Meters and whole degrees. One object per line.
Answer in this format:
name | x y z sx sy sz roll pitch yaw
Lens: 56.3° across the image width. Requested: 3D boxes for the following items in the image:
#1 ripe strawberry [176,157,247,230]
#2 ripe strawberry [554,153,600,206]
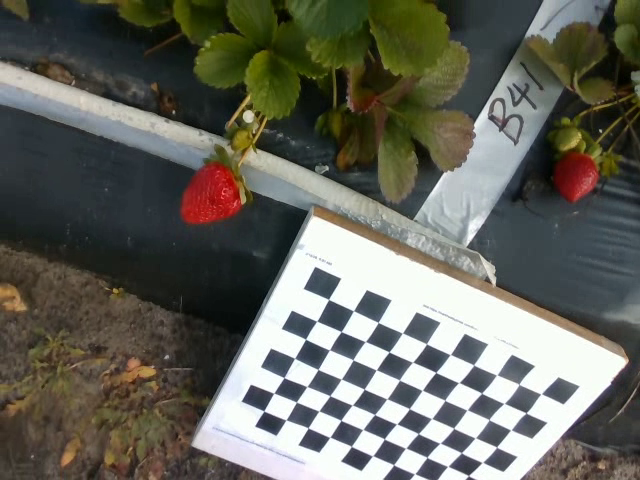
ripe strawberry | -0.077 -0.029 0.399 0.052 0.048 0.030 -33 25 -7
ripe strawberry | 0.187 -0.042 0.424 0.037 0.048 0.030 36 -29 -14
